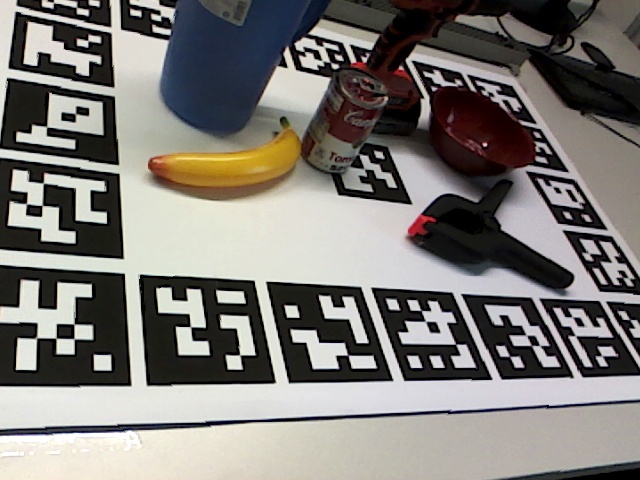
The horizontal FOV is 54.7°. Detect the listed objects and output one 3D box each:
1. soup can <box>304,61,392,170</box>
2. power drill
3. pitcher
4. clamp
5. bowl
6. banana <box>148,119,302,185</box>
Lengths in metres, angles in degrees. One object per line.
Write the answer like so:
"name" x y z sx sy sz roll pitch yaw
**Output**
"soup can" 0.029 -0.140 0.700 0.067 0.102 0.068 16 37 -13
"power drill" 0.134 -0.247 0.767 0.183 0.187 0.057 0 52 -31
"pitcher" -0.064 -0.240 0.633 0.188 0.243 0.134 -20 60 -41
"clamp" 0.196 -0.020 0.723 0.201 0.037 0.166 2 54 -29
"bowl" 0.211 -0.142 0.839 0.161 0.055 0.162 15 47 -17
"banana" -0.082 -0.088 0.637 0.196 0.039 0.074 -21 56 -43
